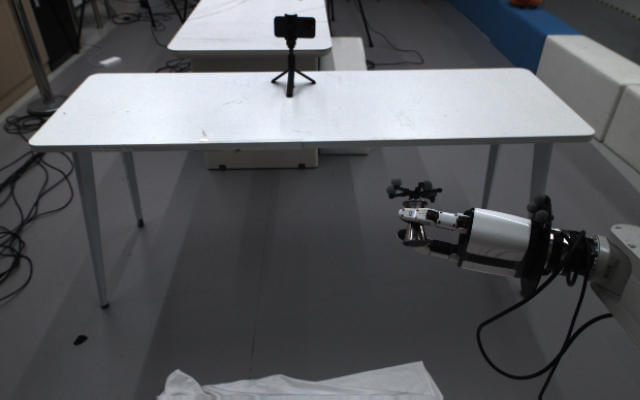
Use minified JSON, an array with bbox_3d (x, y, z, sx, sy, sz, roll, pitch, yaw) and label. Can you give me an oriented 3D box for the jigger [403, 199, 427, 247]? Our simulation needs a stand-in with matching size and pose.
[{"bbox_3d":[0.151,0.034,0.773,0.043,0.043,0.071,3,72,1],"label":"jigger"}]
